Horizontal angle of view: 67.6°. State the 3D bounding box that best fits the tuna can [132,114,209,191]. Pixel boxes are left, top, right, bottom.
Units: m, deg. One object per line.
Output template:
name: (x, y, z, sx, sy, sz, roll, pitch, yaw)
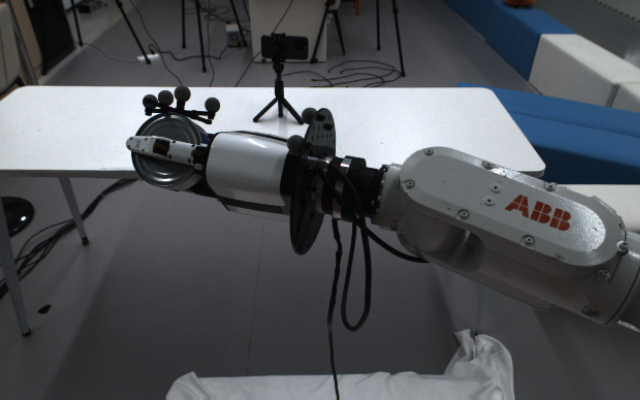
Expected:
tuna can: (-0.168, -0.055, 0.557, 0.085, 0.085, 0.034, 11, -6, 13)
